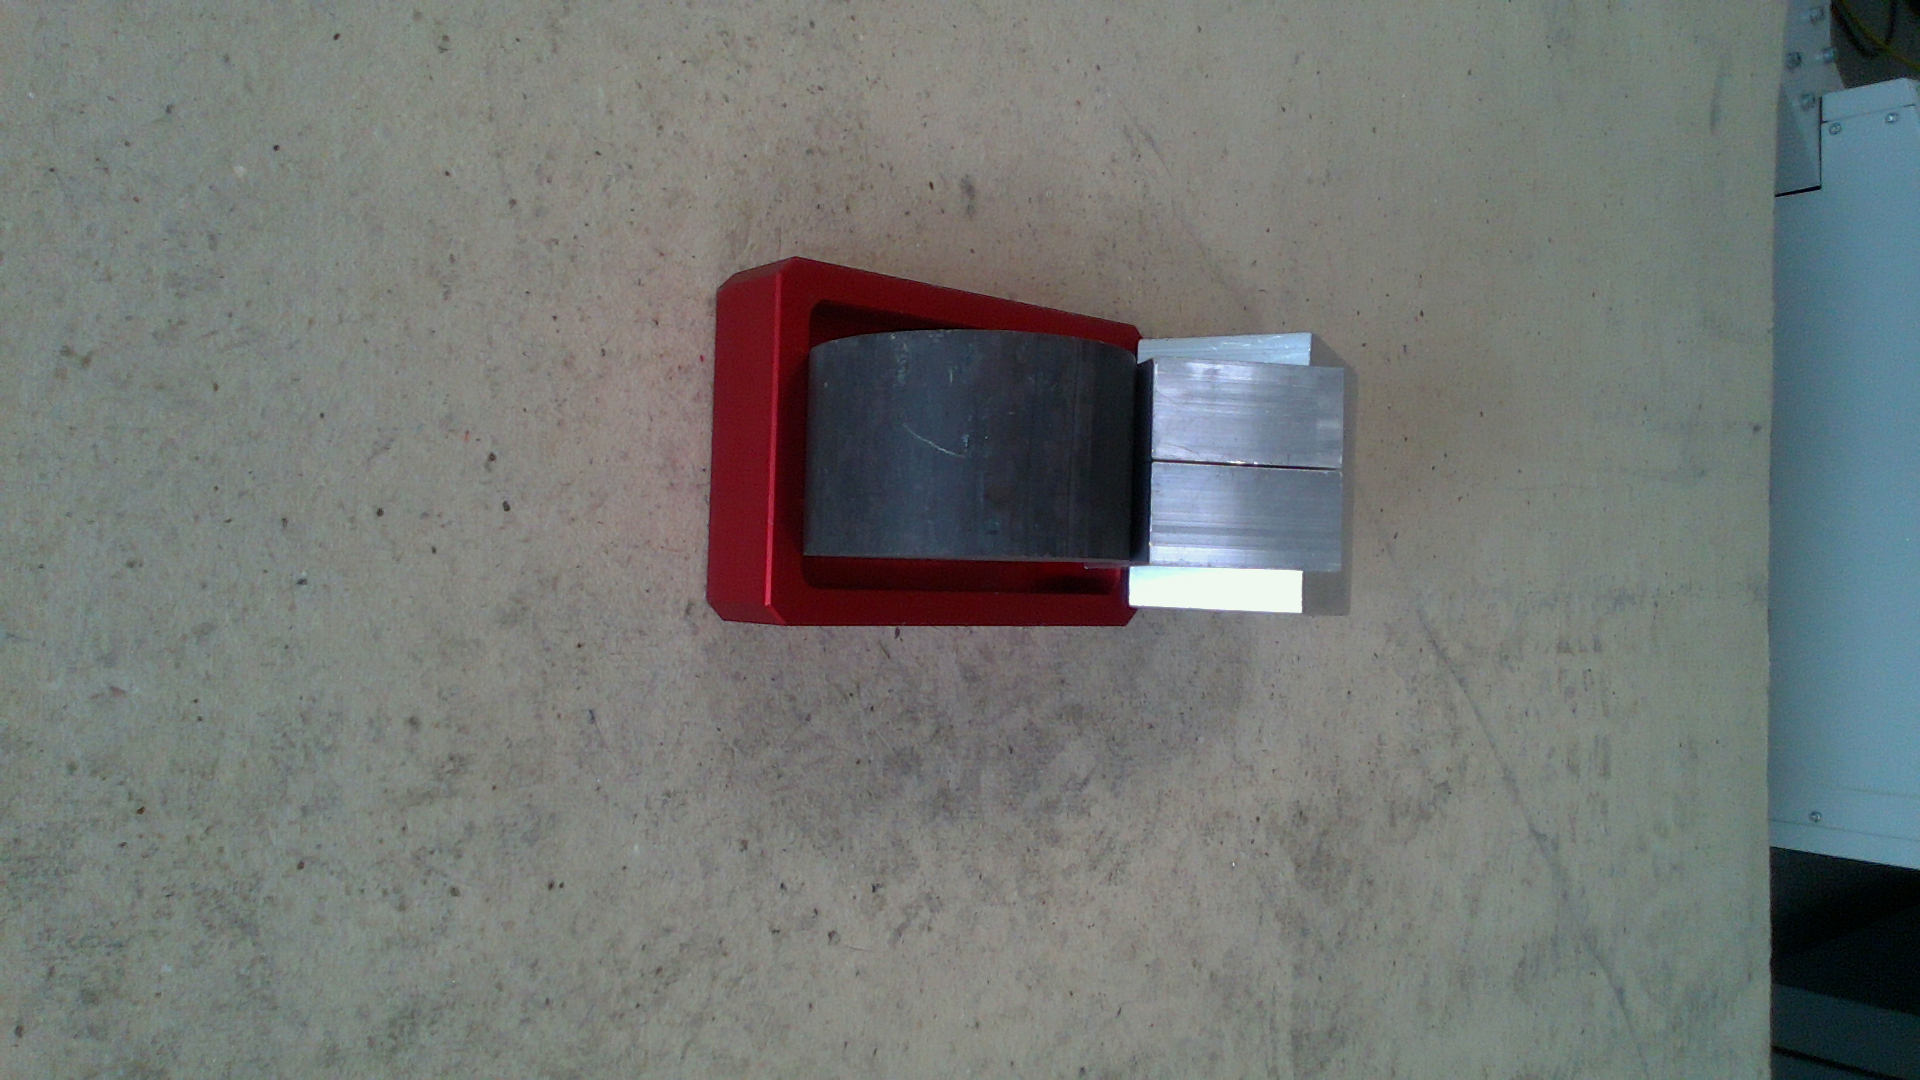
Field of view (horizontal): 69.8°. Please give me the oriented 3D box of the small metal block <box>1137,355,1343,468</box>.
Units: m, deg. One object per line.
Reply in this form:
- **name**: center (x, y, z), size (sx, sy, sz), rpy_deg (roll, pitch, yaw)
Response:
- **small metal block**: center (0.065, -0.030, 0.359), size (0.050, 0.050, 0.025), rpy_deg (2, 87, -14)

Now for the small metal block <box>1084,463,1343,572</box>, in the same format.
- **small metal block**: center (0.064, -0.004, 0.358), size (0.050, 0.050, 0.025), rpy_deg (2, 87, -14)

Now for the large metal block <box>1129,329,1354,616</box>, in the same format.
- **large metal block**: center (0.090, -0.018, 0.429), size (0.080, 0.050, 0.080), rpy_deg (7, 85, -66)

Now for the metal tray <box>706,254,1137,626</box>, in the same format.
- **metal tray**: center (-0.004, -0.022, 0.382), size (0.131, 0.030, 0.090), rpy_deg (3, 88, -40)

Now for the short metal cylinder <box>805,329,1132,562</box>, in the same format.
- **short metal cylinder**: center (0.002, -0.020, 0.338), size (0.080, 0.080, 0.050), rpy_deg (1, 89, -40)
